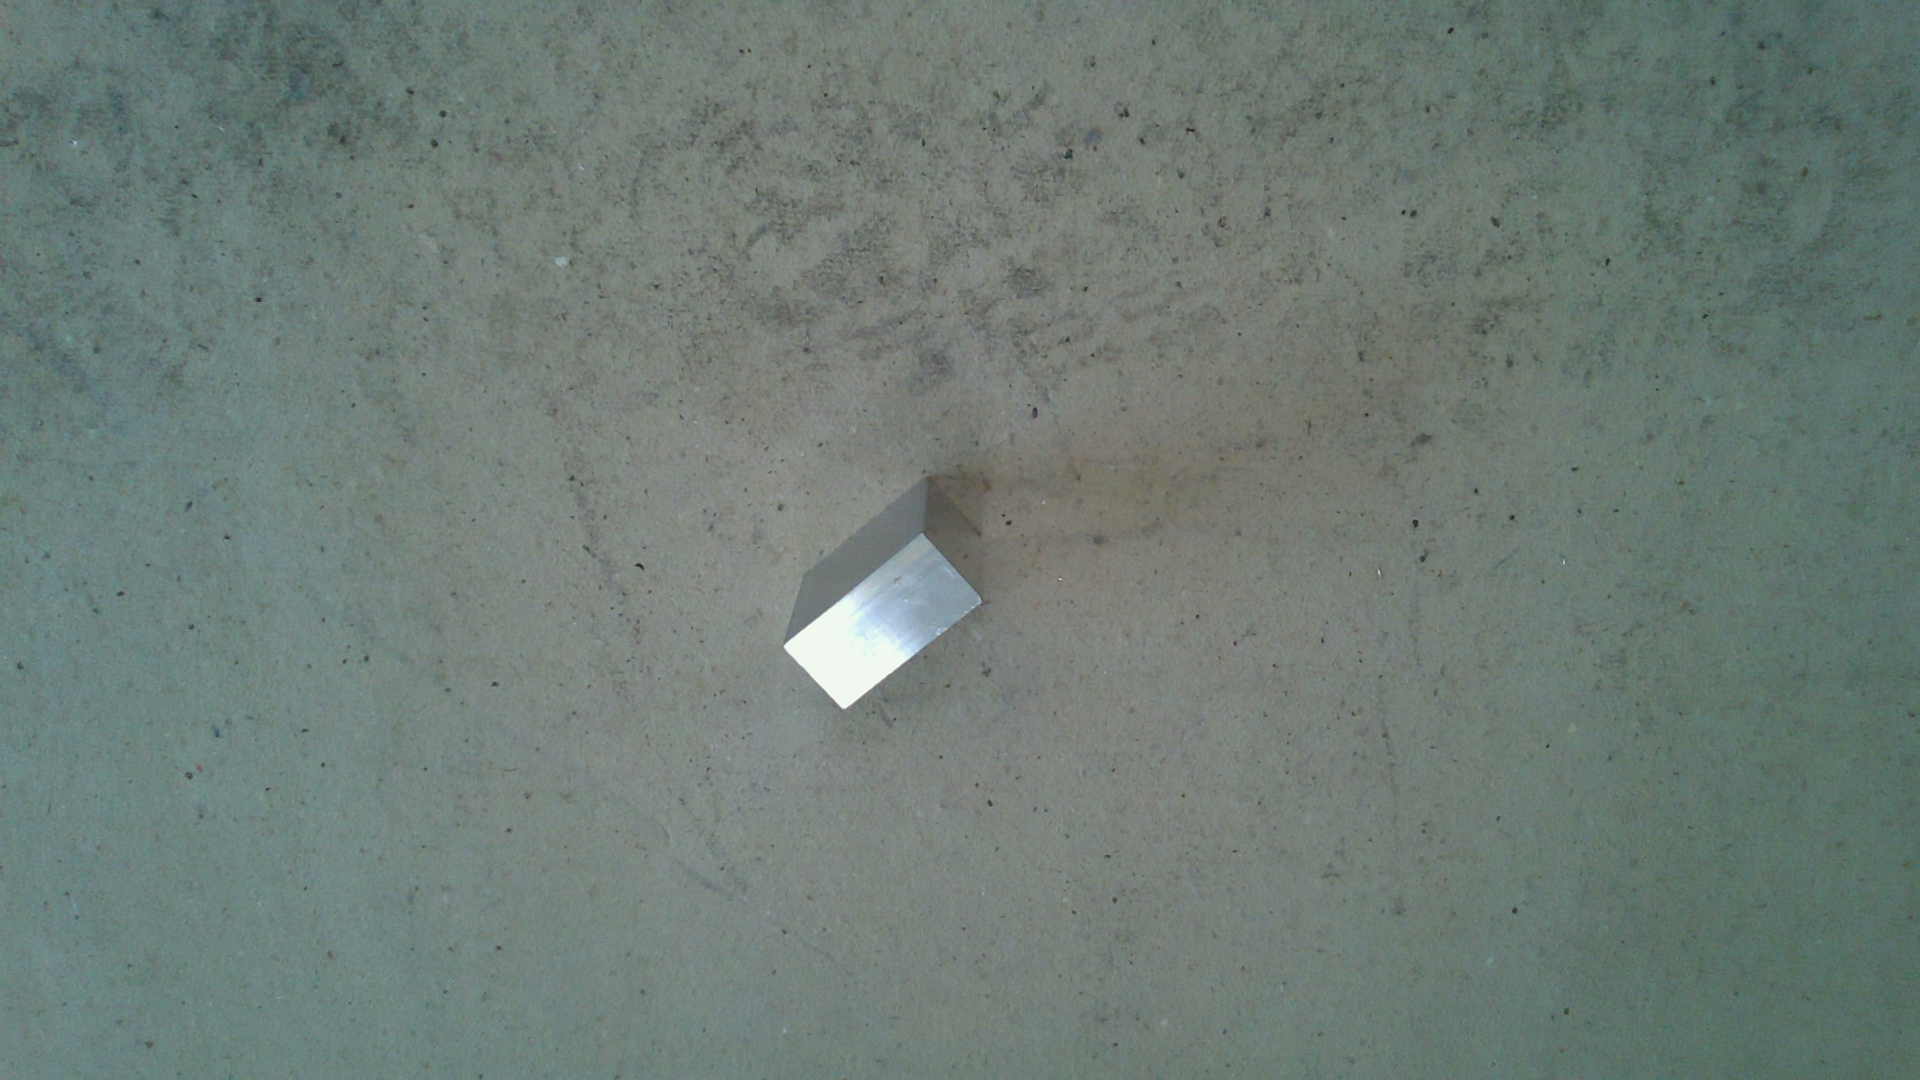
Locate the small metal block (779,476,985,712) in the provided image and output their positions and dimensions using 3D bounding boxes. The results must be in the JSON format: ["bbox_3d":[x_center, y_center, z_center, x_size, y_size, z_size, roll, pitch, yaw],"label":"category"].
[{"bbox_3d":[-0.021,0.014,0.386,0.050,0.050,0.025,-38,106,13],"label":"small metal block"}]
